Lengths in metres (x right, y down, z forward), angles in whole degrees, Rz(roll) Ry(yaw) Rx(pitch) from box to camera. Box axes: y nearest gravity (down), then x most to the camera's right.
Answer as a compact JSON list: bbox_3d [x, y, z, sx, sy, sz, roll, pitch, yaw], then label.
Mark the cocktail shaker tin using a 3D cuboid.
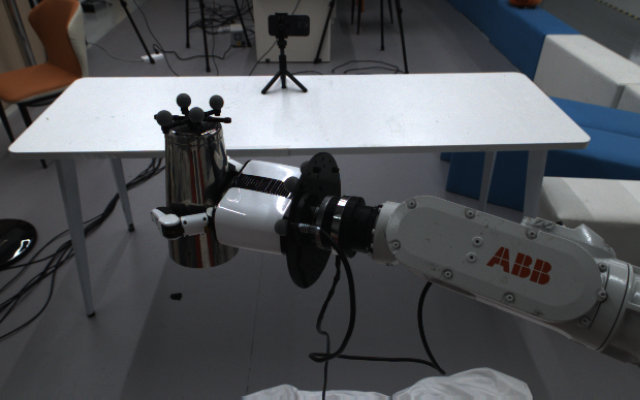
[{"bbox_3d":[-0.148,-0.011,0.602,0.093,0.170,0.093,2,28,-1],"label":"cocktail shaker tin"}]
